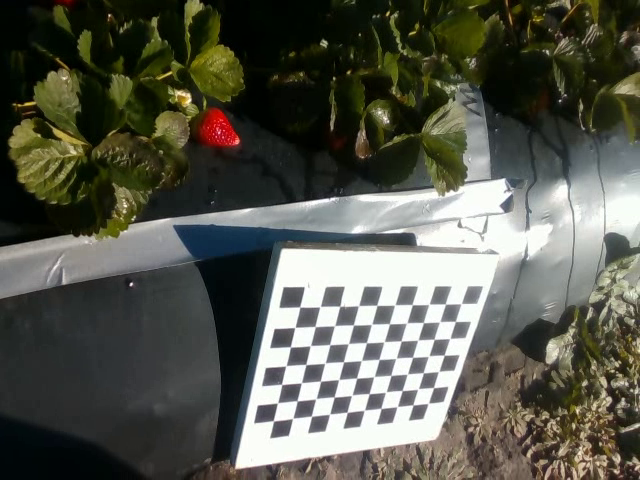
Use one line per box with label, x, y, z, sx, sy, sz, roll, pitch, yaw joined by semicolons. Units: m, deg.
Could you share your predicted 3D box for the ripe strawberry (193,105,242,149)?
ripe strawberry;-0.105;-0.112;0.638;0.058;0.046;0.042;35;5;-16
